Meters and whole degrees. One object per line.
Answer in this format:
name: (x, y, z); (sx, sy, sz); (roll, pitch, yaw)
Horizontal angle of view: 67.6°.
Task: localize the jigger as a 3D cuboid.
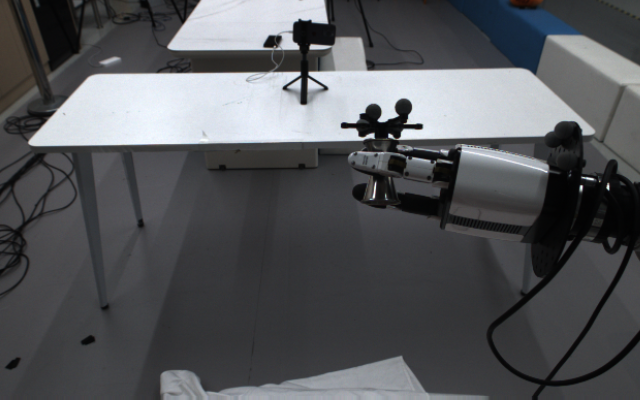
jigger: (0.066, -0.030, 0.531); (0.043, 0.071, 0.043); (1, -6, 0)
